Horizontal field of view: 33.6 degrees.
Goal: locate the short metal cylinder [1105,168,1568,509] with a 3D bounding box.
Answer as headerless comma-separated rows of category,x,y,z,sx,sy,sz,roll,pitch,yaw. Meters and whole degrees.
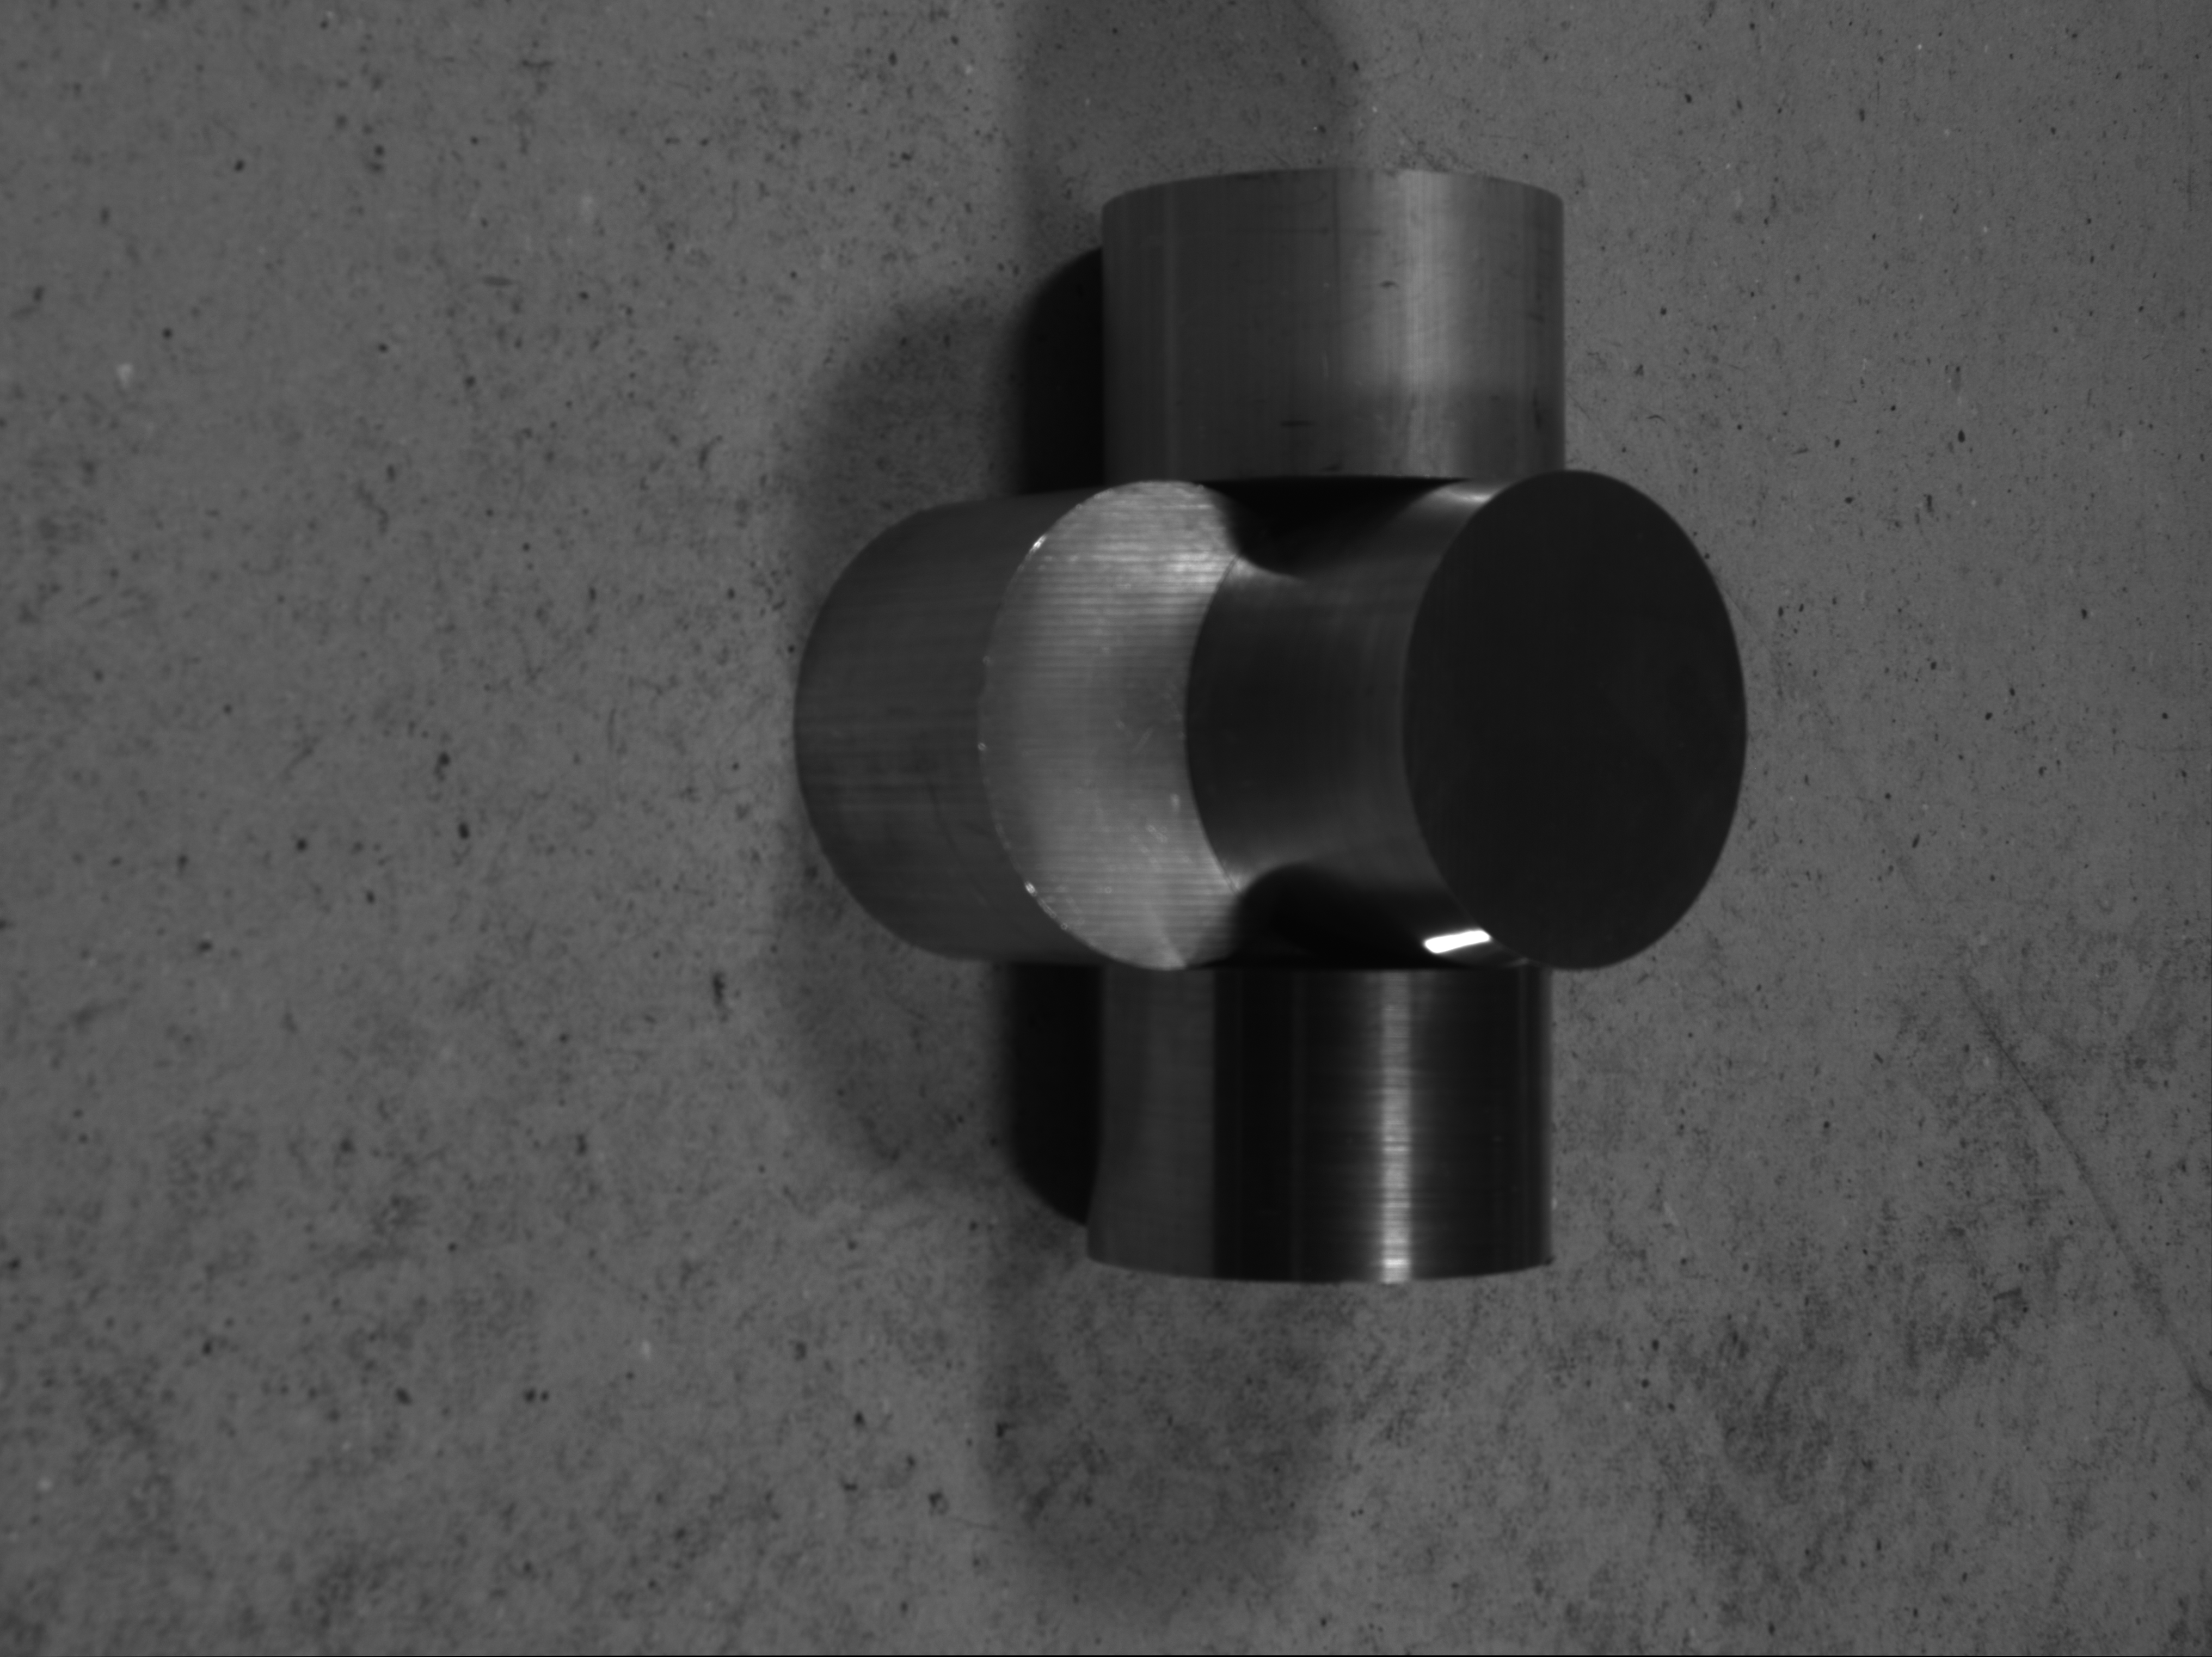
short metal cylinder,0.040,-0.082,0.636,0.080,0.080,0.050,0,90,-40

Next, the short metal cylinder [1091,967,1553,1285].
short metal cylinder,0.037,0.049,0.633,0.080,0.080,0.050,1,90,-40

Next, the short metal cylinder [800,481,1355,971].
short metal cylinder,-0.004,-0.017,0.617,0.080,0.050,0.080,0,90,-40

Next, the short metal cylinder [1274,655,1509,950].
short metal cylinder,0.057,-0.017,0.669,0.080,0.050,0.080,0,90,-40

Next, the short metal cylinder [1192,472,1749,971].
short metal cylinder,0.061,-0.017,0.606,0.080,0.050,0.080,0,90,-40
